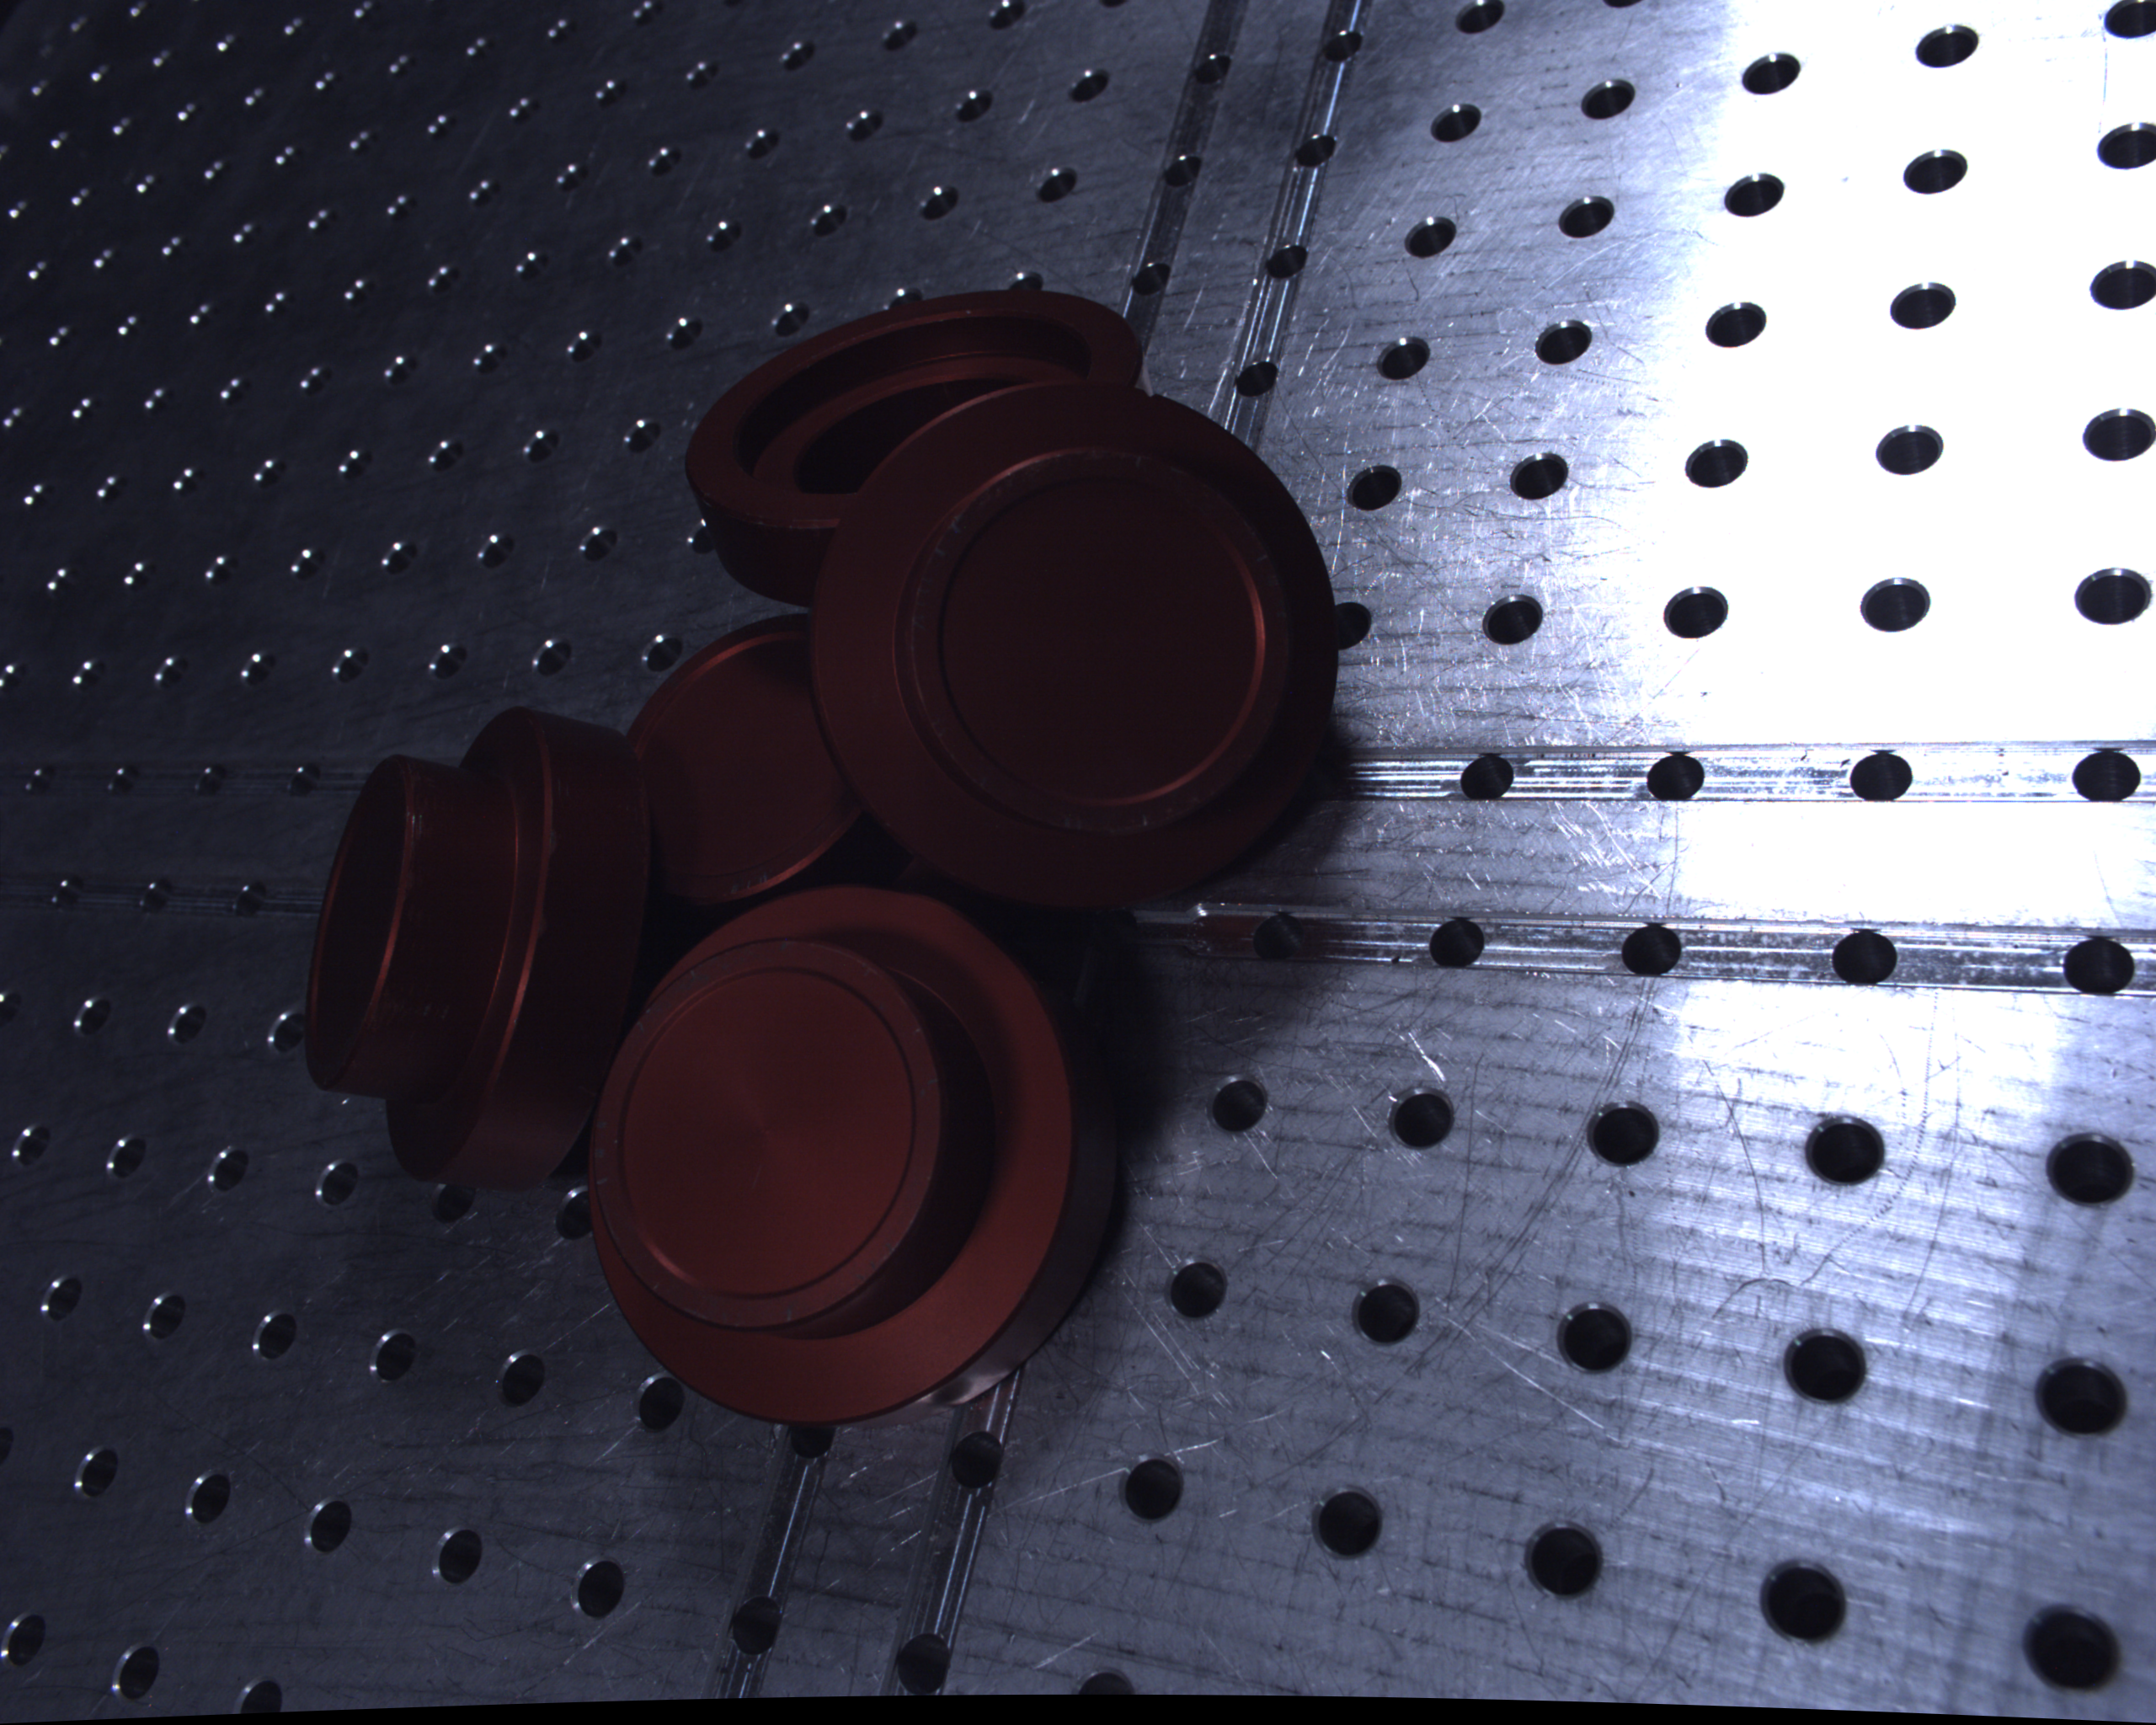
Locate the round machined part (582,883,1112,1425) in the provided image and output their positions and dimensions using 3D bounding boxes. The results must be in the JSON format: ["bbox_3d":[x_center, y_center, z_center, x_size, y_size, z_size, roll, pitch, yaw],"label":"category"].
[{"bbox_3d":[-0.047,0.050,0.374,0.098,0.042,0.098,-6,71,20],"label":"round machined part"}]

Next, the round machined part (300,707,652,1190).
[{"bbox_3d":[-0.125,0.015,0.421,0.098,0.042,0.098,-29,54,50],"label":"round machined part"}]

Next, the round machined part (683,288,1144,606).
[{"bbox_3d":[-0.031,-0.082,0.447,0.098,0.042,0.098,-10,38,8],"label":"round machined part"}]

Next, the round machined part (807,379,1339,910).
[{"bbox_3d":[0.001,-0.040,0.382,0.098,0.098,0.042,-47,10,-5],"label":"round machined part"}]

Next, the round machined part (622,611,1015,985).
[{"bbox_3d":[-0.059,-0.013,0.433,0.098,0.042,0.098,-13,56,20],"label":"round machined part"}]
